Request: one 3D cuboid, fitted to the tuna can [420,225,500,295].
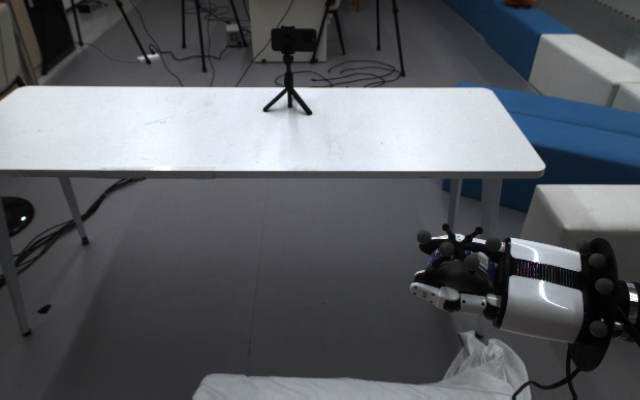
[{"bbox_3d":[0.176,0.093,0.606,0.085,0.085,0.034,14,41,16],"label":"tuna can"}]
